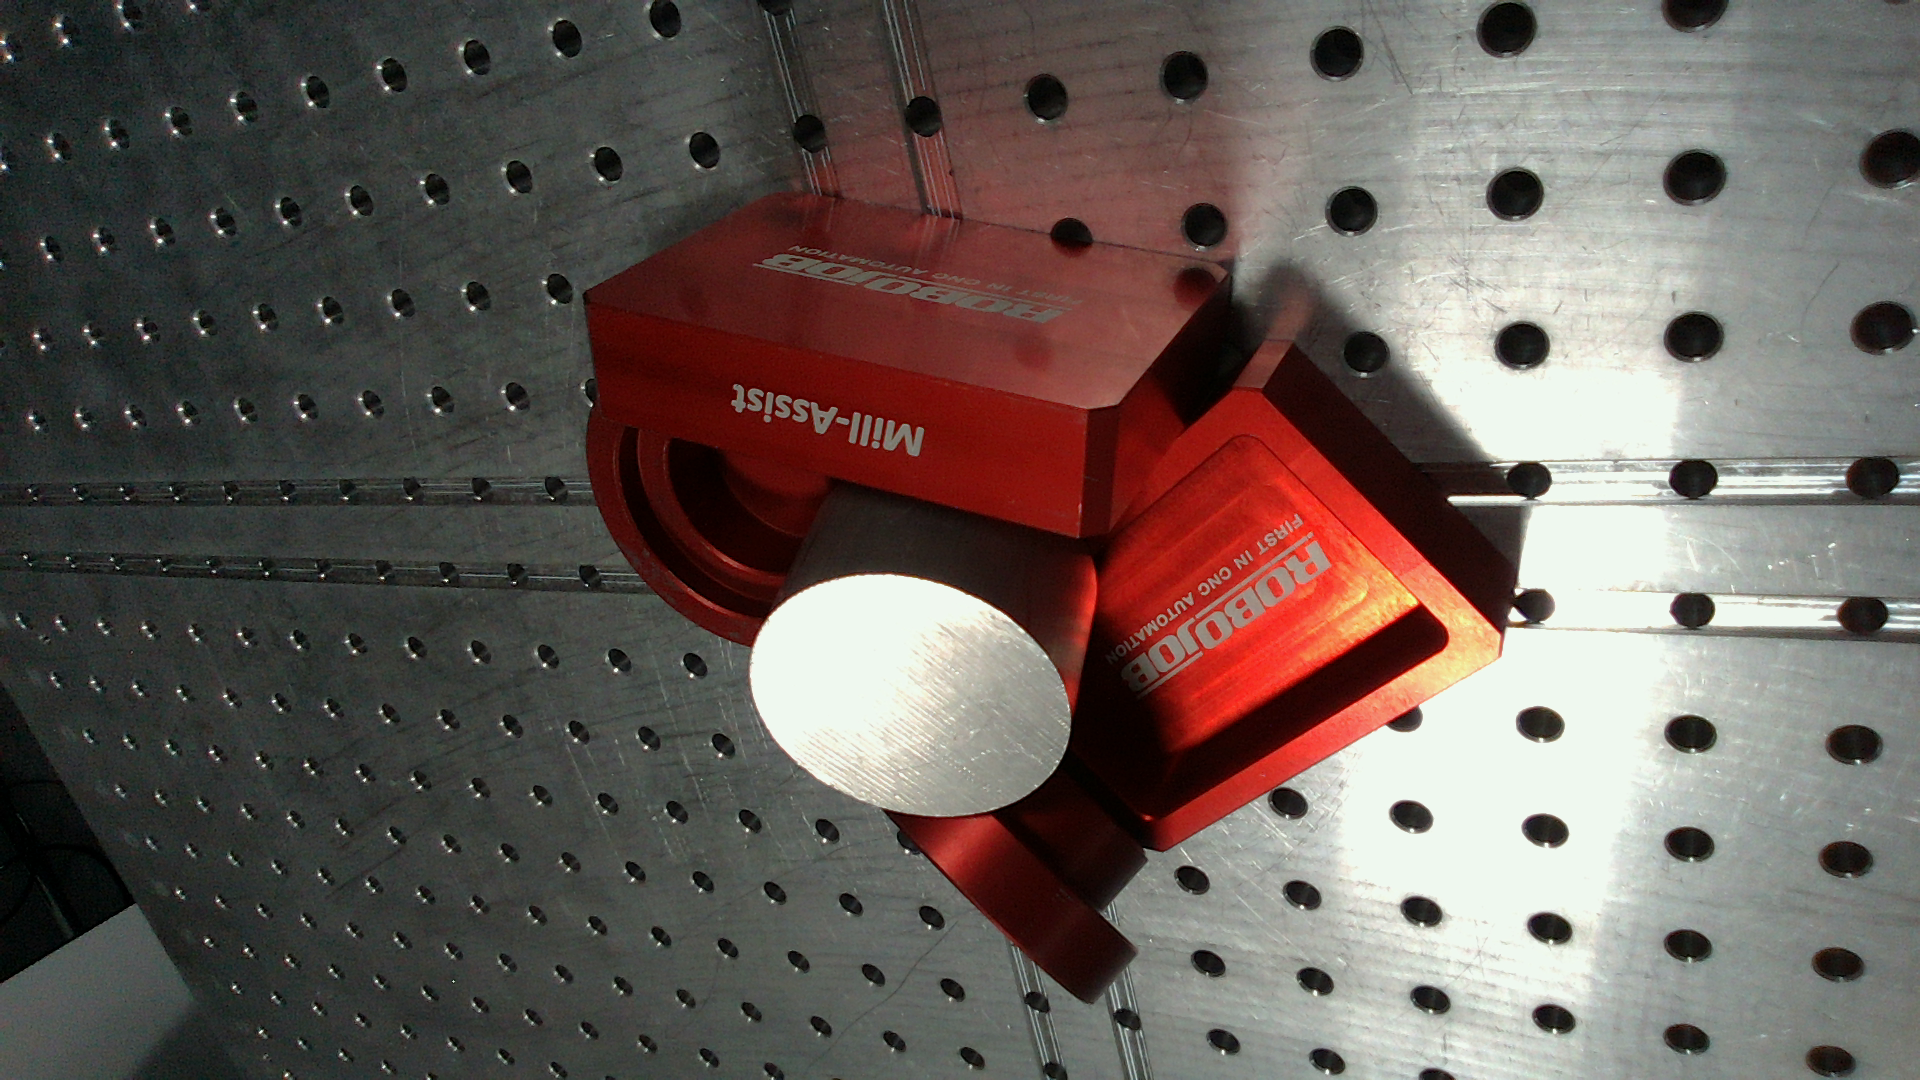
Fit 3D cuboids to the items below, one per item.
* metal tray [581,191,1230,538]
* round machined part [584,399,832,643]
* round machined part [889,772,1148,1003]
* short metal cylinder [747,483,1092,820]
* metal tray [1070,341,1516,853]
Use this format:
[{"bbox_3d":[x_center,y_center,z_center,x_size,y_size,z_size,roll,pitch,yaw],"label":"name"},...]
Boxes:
[{"bbox_3d":[-0.011,-0.048,0.330,0.130,0.090,0.030,14,124,20],"label":"metal tray"},{"bbox_3d":[-0.057,-0.020,0.404,0.098,0.042,0.098,13,124,21],"label":"round machined part"},{"bbox_3d":[0.017,0.086,0.406,0.098,0.042,0.098,43,174,7],"label":"round machined part"},{"bbox_3d":[-0.008,0.025,0.351,0.080,0.050,0.080,6,128,9],"label":"short metal cylinder"},{"bbox_3d":[0.067,0.021,0.369,0.090,0.030,0.130,45,129,-3],"label":"metal tray"}]
